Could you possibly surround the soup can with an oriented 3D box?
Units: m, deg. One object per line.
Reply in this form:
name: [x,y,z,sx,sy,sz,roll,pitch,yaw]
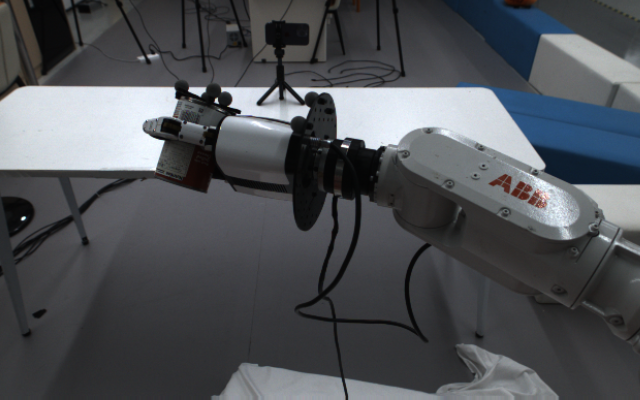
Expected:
soup can: [-0.154,-0.065,0.591,0.067,0.101,0.067,17,-1,0]
